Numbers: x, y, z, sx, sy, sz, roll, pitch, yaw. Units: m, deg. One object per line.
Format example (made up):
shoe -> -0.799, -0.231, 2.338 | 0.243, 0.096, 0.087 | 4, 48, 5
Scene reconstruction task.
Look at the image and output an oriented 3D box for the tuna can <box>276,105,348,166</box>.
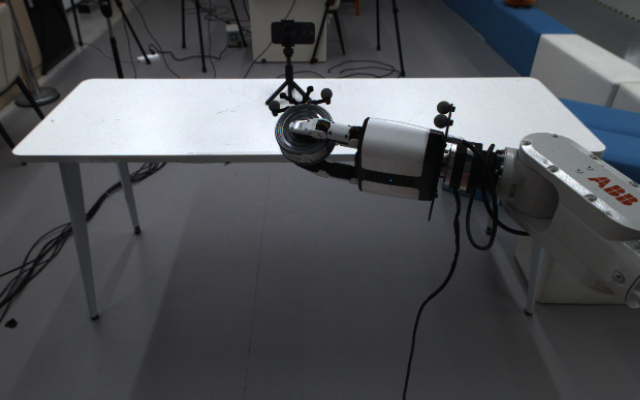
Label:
tuna can -> -0.017, -0.090, 0.692 | 0.085, 0.034, 0.085 | -4, 68, 9
